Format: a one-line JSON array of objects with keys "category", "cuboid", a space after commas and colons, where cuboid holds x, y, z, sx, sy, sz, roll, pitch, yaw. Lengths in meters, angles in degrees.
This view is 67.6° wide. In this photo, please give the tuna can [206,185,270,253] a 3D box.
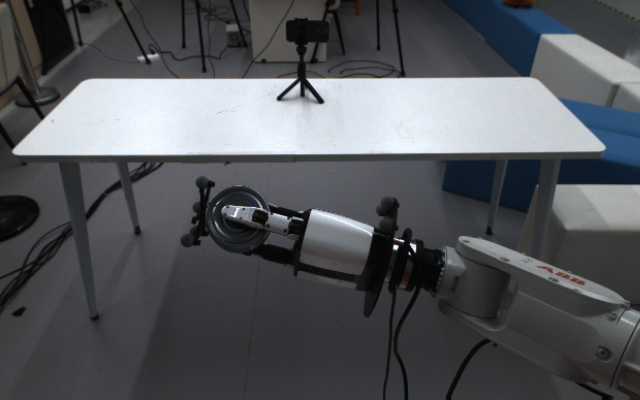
[{"category": "tuna can", "cuboid": [-0.103, 0.025, 0.634, 0.085, 0.034, 0.085, 1, 73, -5]}]
